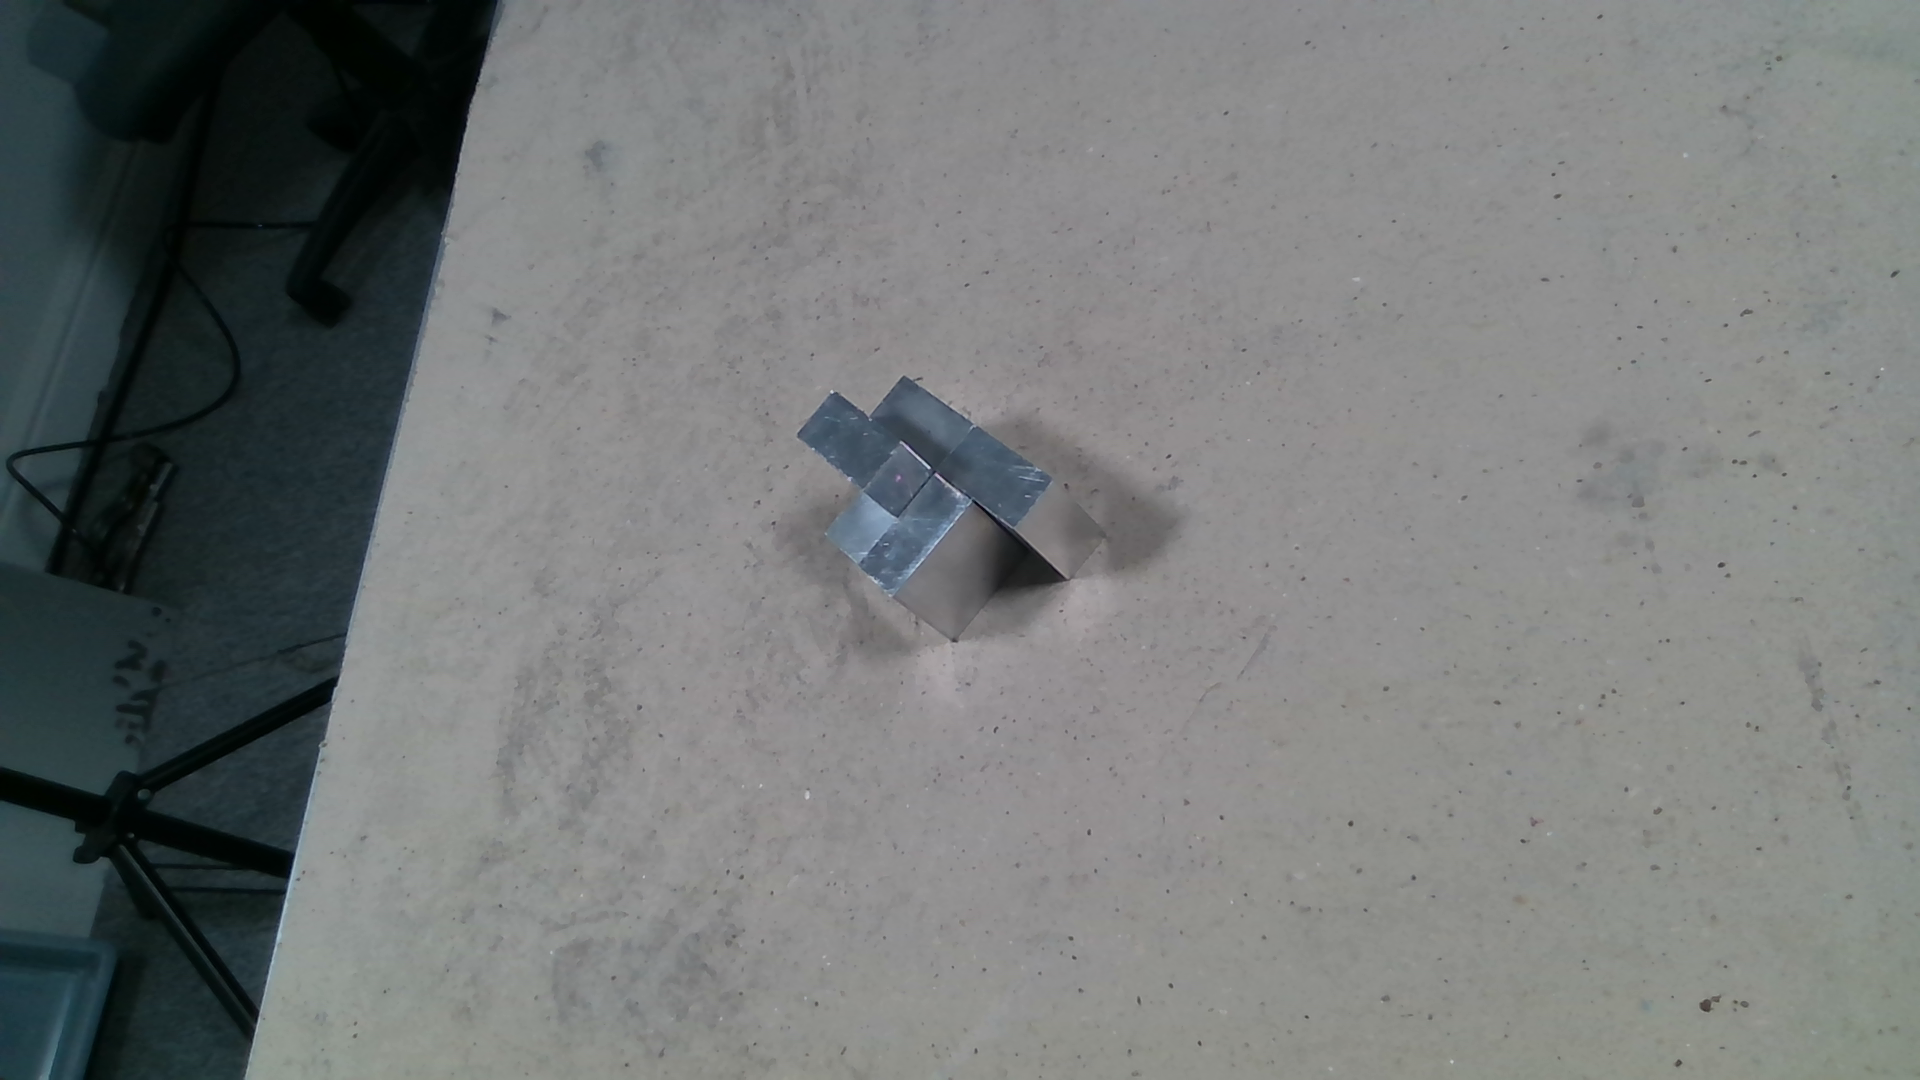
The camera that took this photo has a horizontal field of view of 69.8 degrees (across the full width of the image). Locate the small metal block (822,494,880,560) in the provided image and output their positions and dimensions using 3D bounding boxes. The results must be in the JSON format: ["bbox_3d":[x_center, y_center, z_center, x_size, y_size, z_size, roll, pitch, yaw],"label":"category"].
[{"bbox_3d":[-0.024,-0.005,0.603,0.050,0.025,0.050,-50,51,0],"label":"small metal block"}]

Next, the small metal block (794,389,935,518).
[{"bbox_3d":[-0.034,-0.031,0.574,0.025,0.050,0.050,-51,51,-1],"label":"small metal block"}]

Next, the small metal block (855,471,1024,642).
[{"bbox_3d":[-0.007,0.008,0.569,0.050,0.050,0.025,-50,51,-1],"label":"small metal block"}]

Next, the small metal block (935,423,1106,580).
[{"bbox_3d":[0.025,-0.015,0.562,0.025,0.050,0.050,-51,51,-1],"label":"small metal block"}]

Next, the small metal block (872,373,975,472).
[{"bbox_3d":[-0.006,-0.039,0.594,0.025,0.050,0.050,-51,51,-1],"label":"small metal block"}]
